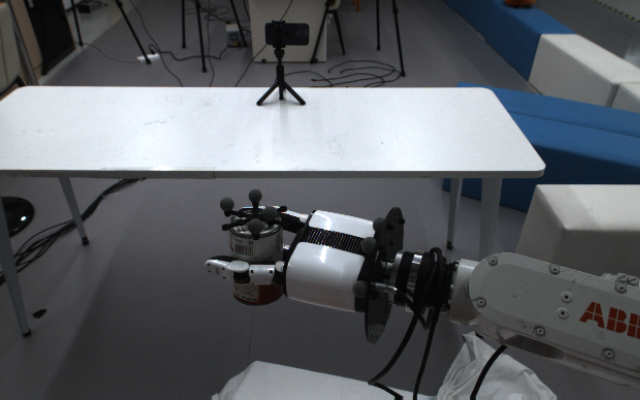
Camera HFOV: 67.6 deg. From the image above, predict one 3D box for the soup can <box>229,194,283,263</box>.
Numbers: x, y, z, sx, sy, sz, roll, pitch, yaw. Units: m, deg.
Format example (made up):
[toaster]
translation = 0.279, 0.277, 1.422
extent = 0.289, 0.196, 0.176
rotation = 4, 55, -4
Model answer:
[soup can]
translation = -0.078, 0.073, 0.609
extent = 0.067, 0.101, 0.067
rotation = 1, 26, 0
